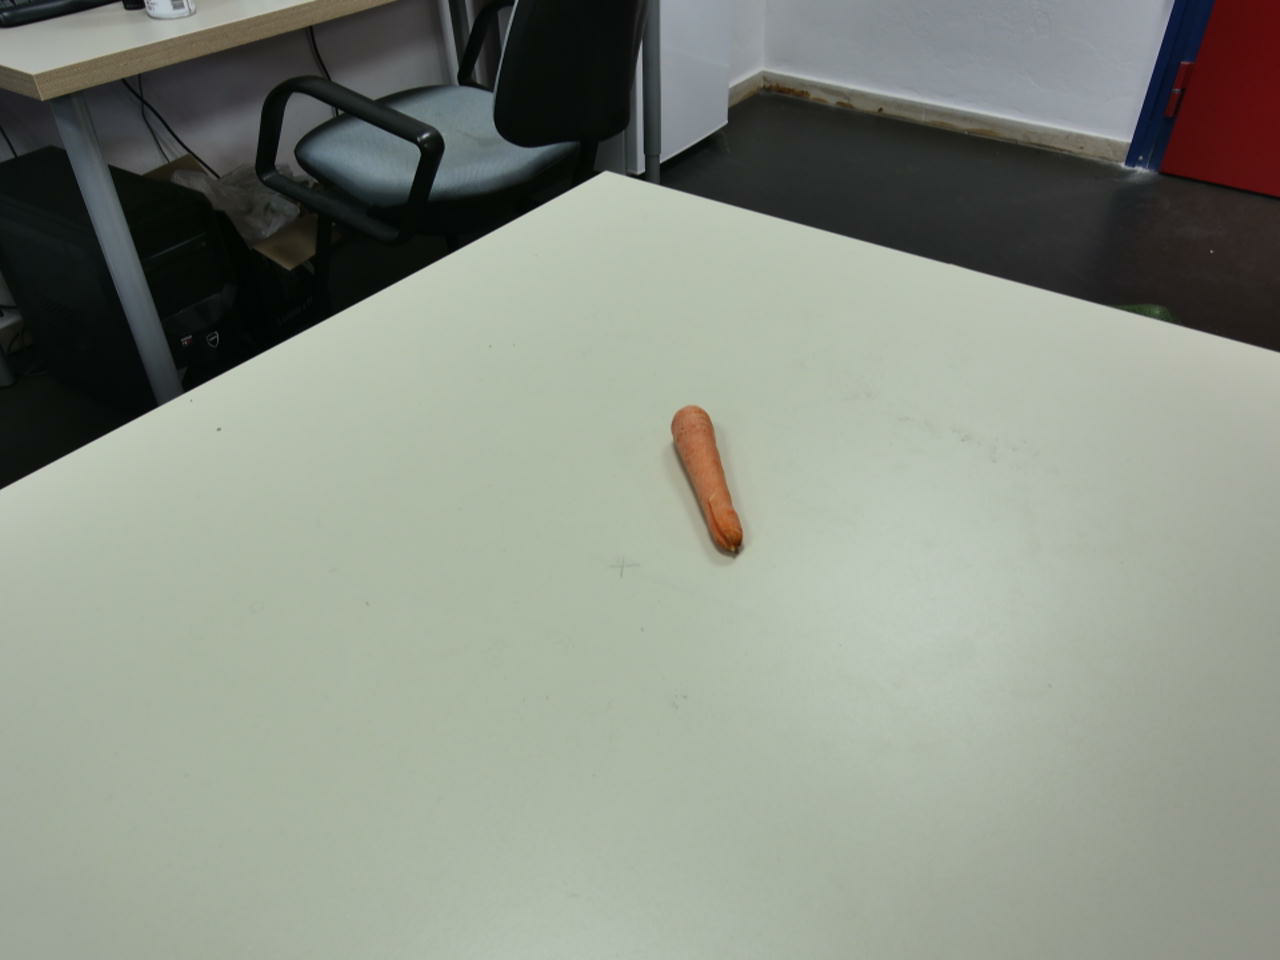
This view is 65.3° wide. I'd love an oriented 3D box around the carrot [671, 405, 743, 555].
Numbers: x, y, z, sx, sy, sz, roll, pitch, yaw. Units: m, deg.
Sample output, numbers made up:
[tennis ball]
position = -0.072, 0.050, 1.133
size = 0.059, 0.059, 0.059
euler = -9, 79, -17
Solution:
[carrot]
position = 0.042, -0.005, 0.645
size = 0.030, 0.032, 0.136
euler = -5, 38, -7
